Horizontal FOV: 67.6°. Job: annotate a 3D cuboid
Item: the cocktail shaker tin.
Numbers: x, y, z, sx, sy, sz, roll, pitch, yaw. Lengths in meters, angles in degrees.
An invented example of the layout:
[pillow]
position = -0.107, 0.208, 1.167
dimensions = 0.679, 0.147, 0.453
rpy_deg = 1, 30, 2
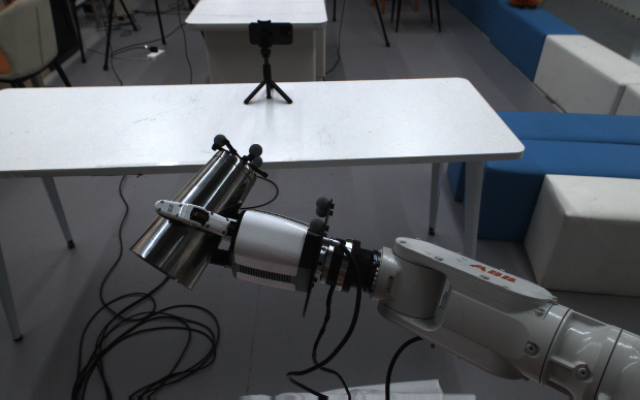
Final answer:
[cocktail shaker tin]
position = -0.157, 0.016, 0.631
dimensions = 0.093, 0.093, 0.170
rpy_deg = 22, 67, 26
